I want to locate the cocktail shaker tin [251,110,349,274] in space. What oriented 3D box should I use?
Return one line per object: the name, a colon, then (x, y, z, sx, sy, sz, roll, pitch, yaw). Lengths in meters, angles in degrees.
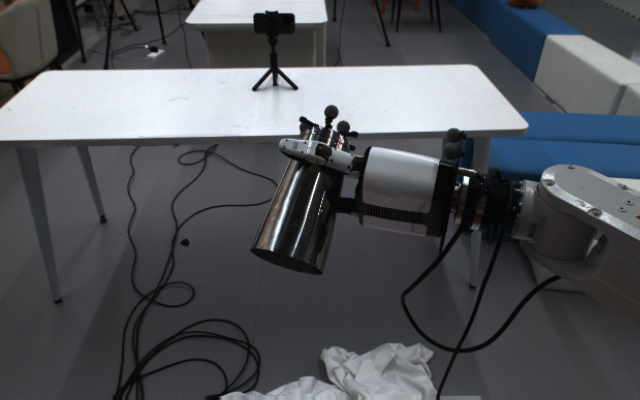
cocktail shaker tin: (-0.014, -0.005, 0.608, 0.093, 0.093, 0.170, 13, 72, 15)
